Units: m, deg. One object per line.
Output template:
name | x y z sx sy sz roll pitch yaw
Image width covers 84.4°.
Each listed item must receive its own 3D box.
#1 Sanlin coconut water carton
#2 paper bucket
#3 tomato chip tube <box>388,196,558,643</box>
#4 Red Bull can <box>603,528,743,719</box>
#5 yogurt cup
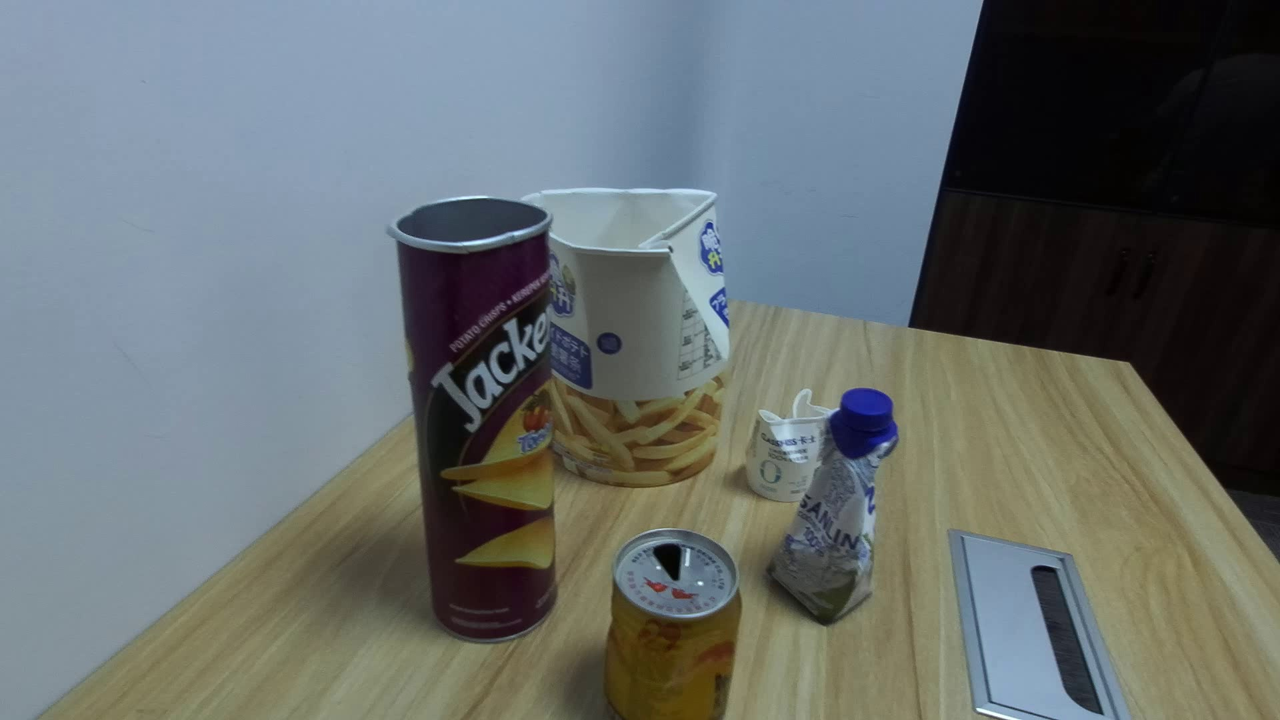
Sanlin coconut water carton | 0.130 0.084 0.424 0.069 0.144 0.056 -10 35 -41
paper bucket | 0.000 -0.017 0.551 0.169 0.202 0.162 -5 29 -11
tomato chip tube | -0.082 0.039 0.384 0.080 0.234 0.076 -17 31 -34
Red Bull can | 0.015 0.139 0.350 0.068 0.093 0.068 3 25 -1
yogurt cup | 0.111 0.065 0.534 0.055 0.072 0.055 -4 29 -10
